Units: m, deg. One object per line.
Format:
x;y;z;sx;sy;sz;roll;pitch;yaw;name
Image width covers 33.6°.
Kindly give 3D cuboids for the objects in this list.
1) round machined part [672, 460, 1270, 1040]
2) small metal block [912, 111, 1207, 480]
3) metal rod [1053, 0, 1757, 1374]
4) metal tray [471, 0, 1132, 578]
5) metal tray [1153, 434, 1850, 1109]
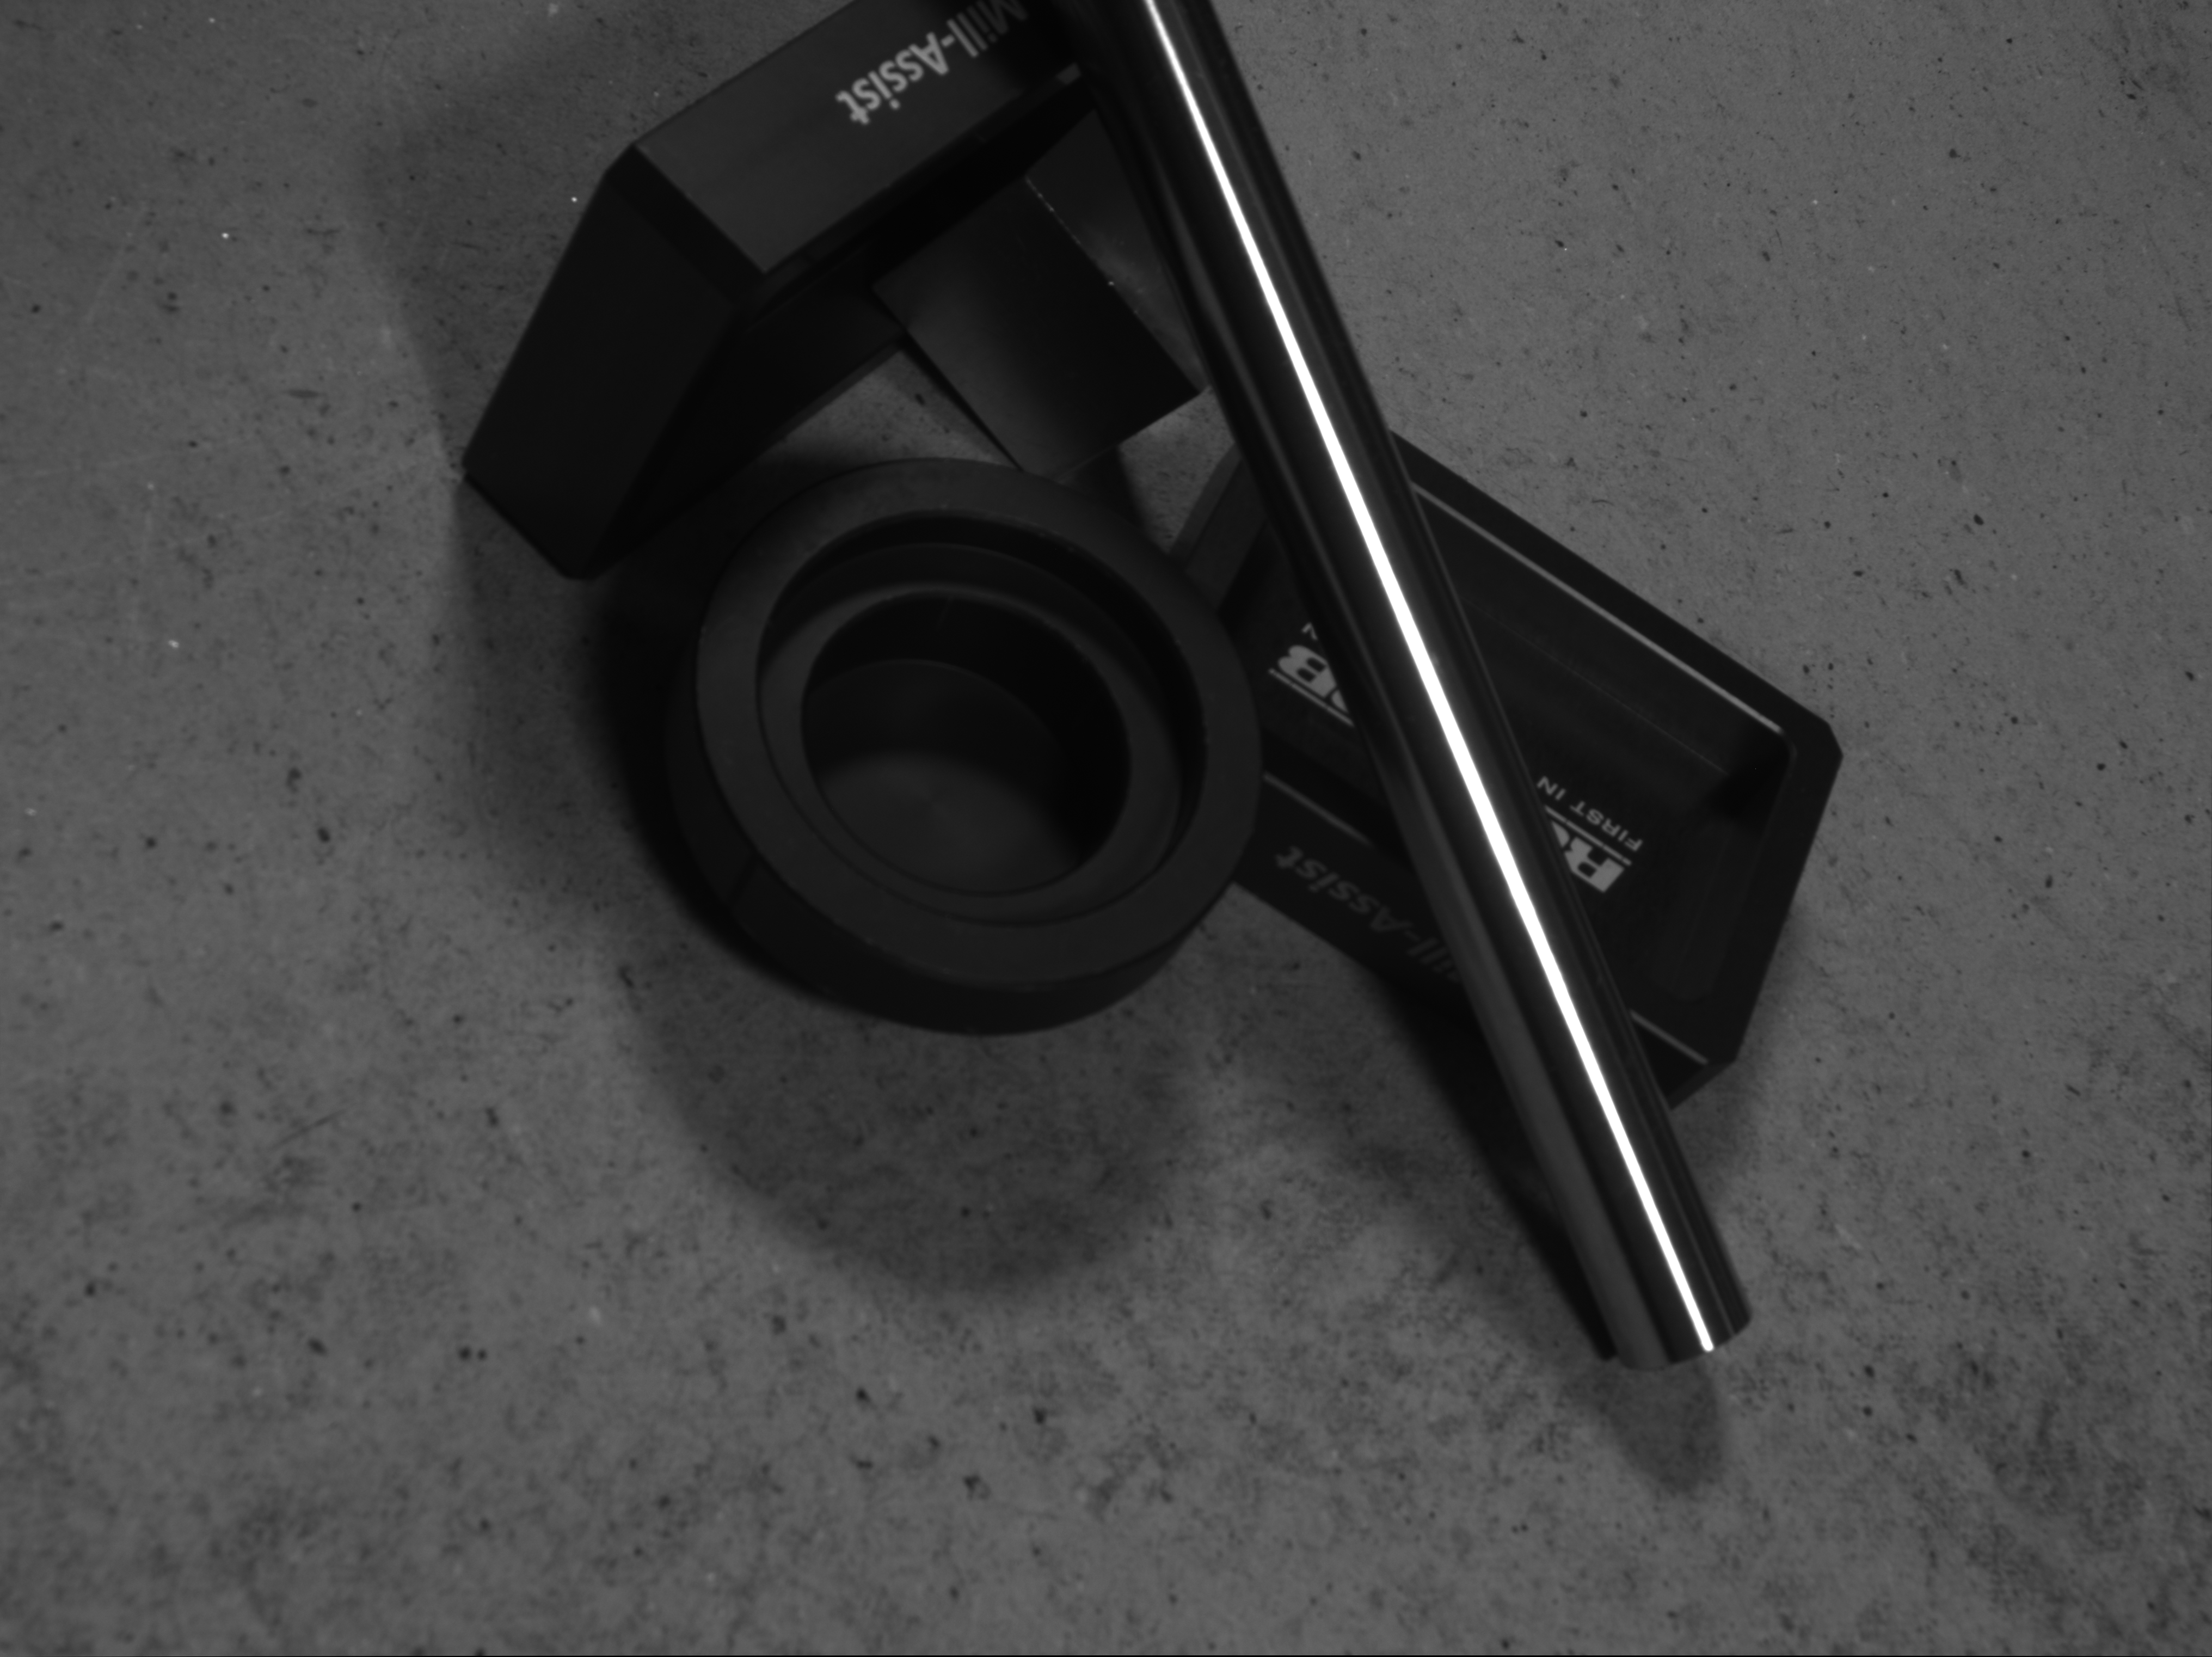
-0.025;-0.009;0.617;0.098;0.042;0.098;9;62;-17;round machined part
-0.006;-0.096;0.673;0.050;0.050;0.025;49;52;-12;small metal block
0.044;-0.047;0.624;0.025;0.025;0.300;-29;99;-37;metal rod
-0.046;-0.107;0.638;0.030;0.090;0.130;44;51;3;metal tray
0.068;-0.015;0.683;0.130;0.030;0.090;33;51;-7;metal tray
